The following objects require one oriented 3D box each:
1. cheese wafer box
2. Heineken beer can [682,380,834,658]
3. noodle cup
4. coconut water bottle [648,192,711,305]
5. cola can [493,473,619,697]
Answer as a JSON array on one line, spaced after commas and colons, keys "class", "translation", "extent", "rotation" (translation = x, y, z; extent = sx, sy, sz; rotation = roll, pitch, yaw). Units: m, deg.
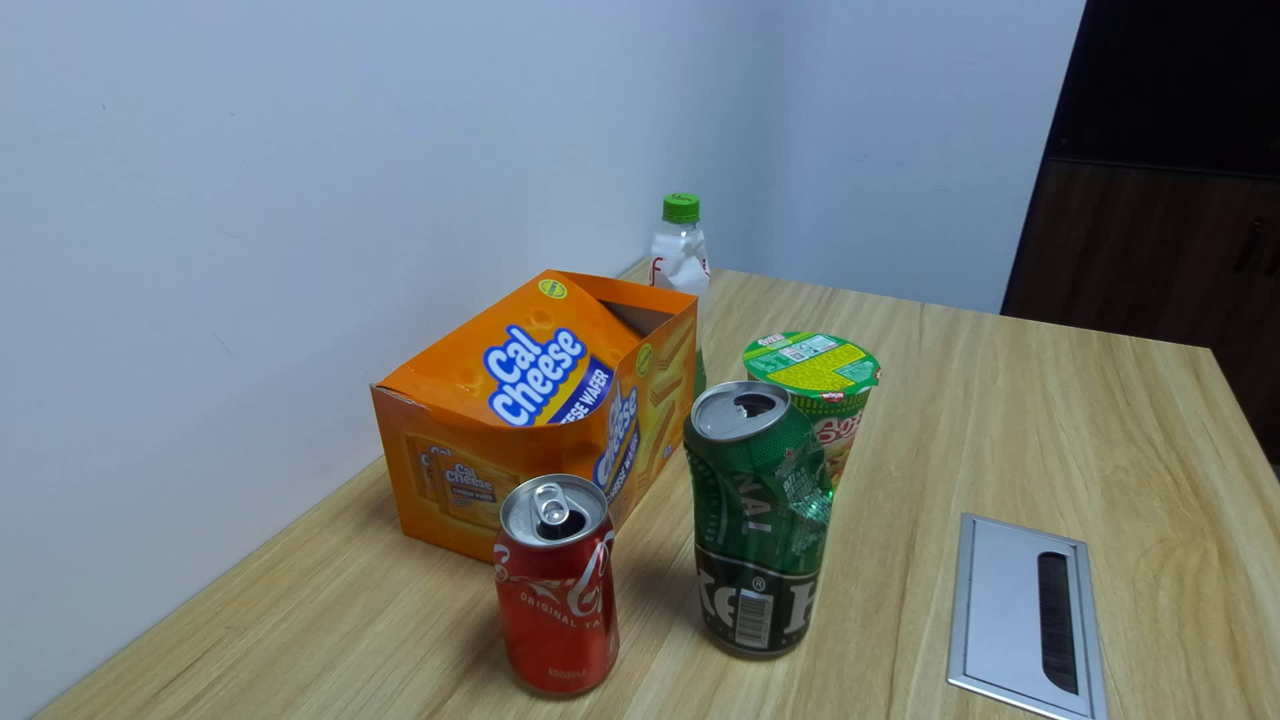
[{"class": "cheese wafer box", "translation": [-0.060, 0.040, 0.535], "extent": [0.152, 0.132, 0.231], "rotation": [13, 30, 21]}, {"class": "Heineken beer can", "translation": [0.069, 0.092, 0.405], "extent": [0.079, 0.159, 0.067], "rotation": [-6, 24, 2]}, {"class": "noodle cup", "translation": [0.122, 0.048, 0.532], "extent": [0.097, 0.110, 0.097], "rotation": [2, 29, -1]}, {"class": "coconut water bottle", "translation": [0.033, -0.054, 0.633], "extent": [0.069, 0.186, 0.069], "rotation": [1, 22, 0]}, {"class": "cola can", "translation": [-0.045, 0.122, 0.390], "extent": [0.066, 0.117, 0.066], "rotation": [8, 31, 14]}]
